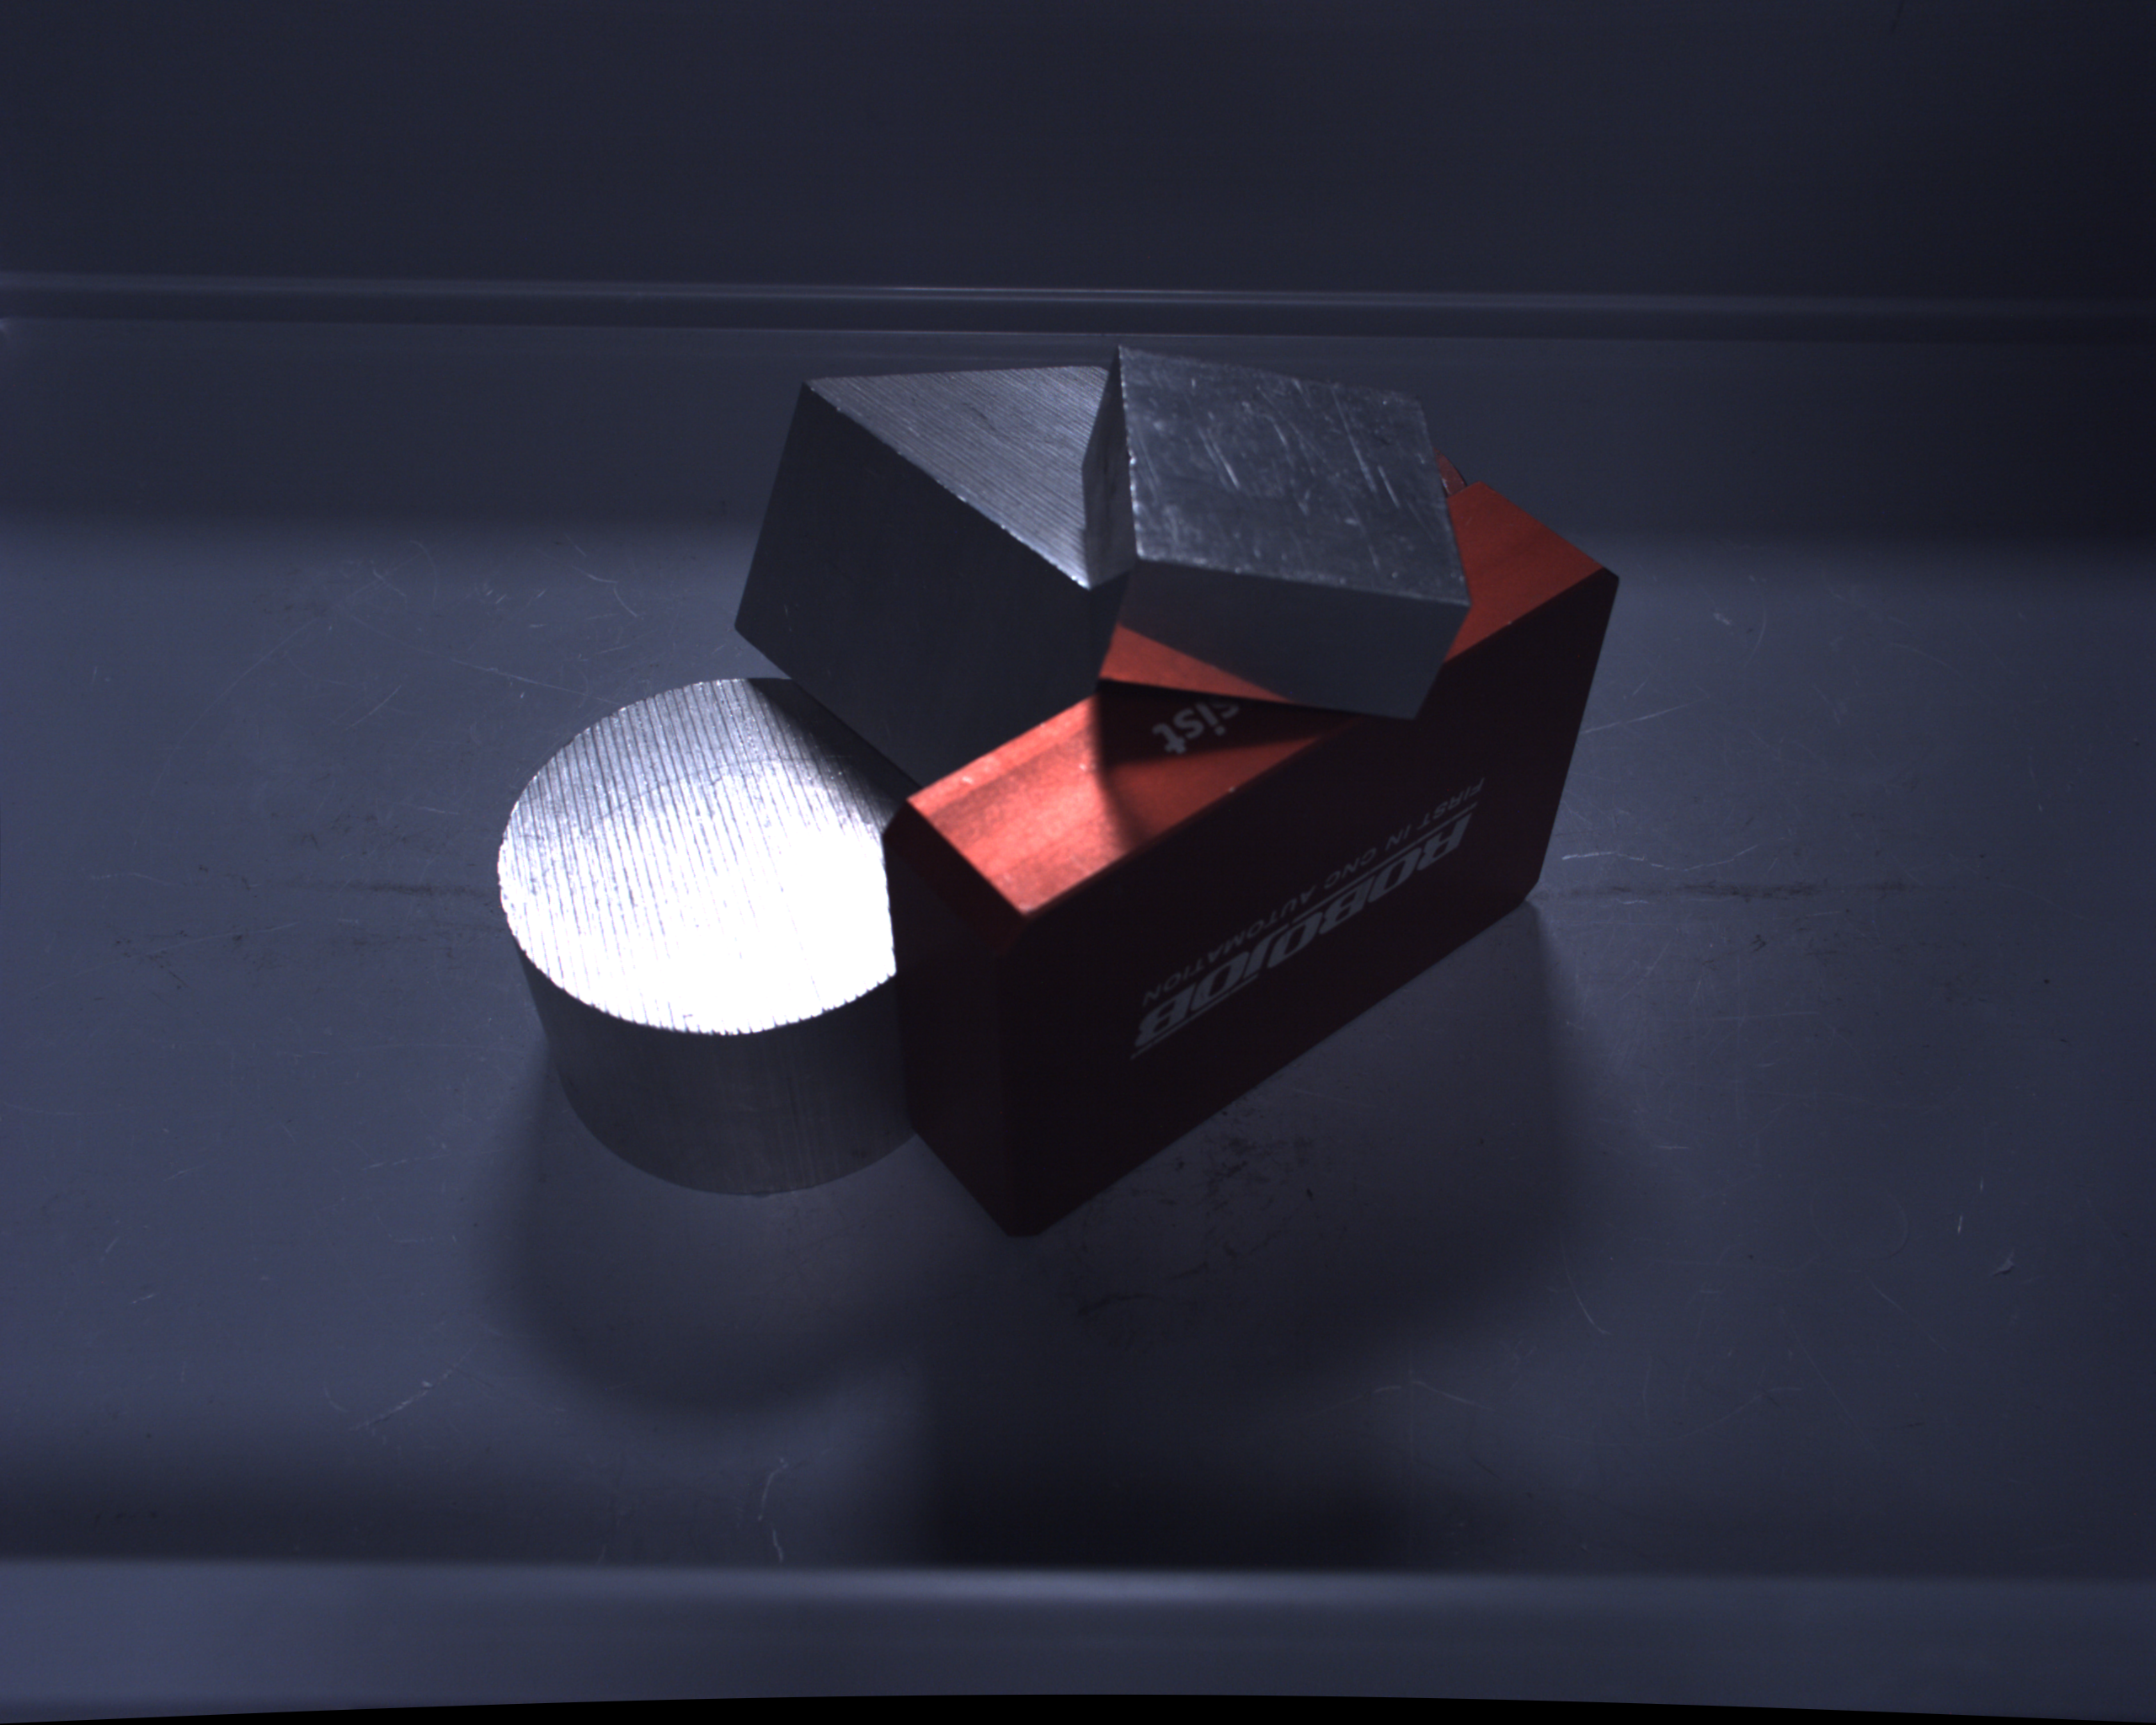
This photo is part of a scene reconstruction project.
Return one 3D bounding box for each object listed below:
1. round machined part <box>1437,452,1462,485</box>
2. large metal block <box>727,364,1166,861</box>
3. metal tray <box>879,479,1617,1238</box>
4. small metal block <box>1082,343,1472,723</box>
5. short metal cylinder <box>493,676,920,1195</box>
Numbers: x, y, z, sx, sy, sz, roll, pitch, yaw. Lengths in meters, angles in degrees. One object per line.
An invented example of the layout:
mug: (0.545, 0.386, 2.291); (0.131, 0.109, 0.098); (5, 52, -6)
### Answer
round machined part: (0.047, -0.060, 0.443); (0.099, 0.042, 0.098); (0, 50, 0)
large metal block: (-0.003, -0.049, 0.382); (0.080, 0.050, 0.081); (39, 35, 27)
metal tray: (0.030, 0.000, 0.361); (0.131, 0.089, 0.030); (-31, 56, -24)
small metal block: (0.029, -0.051, 0.322); (0.050, 0.025, 0.050); (7, 48, -12)
short metal cylinder: (-0.059, 0.012, 0.375); (0.081, 0.050, 0.080); (0, 50, 0)
